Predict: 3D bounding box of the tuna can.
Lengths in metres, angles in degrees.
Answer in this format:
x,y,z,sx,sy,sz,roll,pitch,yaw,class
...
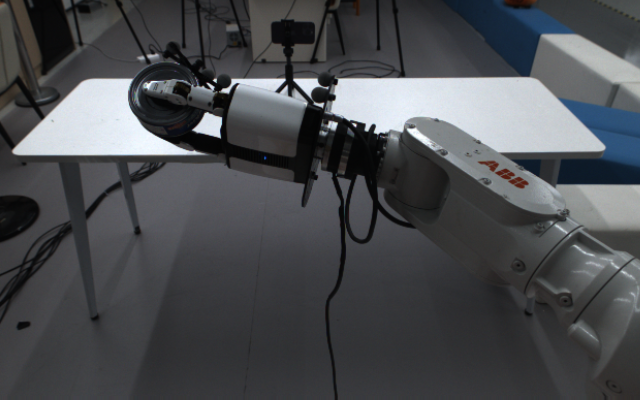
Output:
x,y,z,sx,sy,sz,roll,pitch,yaw,class
-0.181,-0.121,0.580,0.085,0.034,0.085,0,74,-1,tuna can
